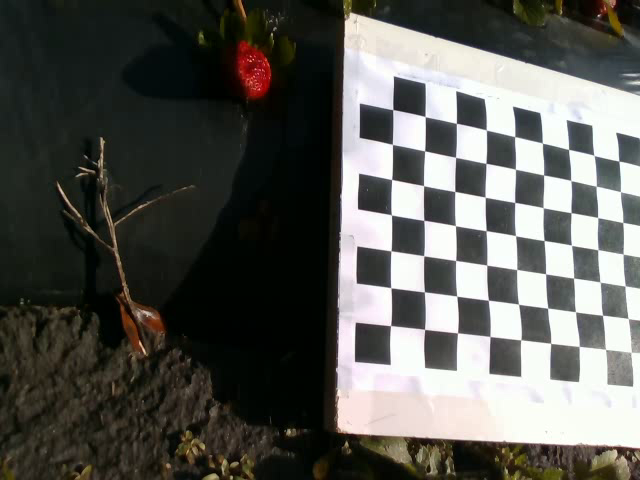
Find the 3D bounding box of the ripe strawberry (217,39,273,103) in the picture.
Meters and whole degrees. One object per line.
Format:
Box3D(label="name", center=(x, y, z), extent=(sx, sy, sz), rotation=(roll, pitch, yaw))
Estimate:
Box3D(label="ripe strawberry", center=(-0.014, -0.037, 0.162), extent=(0.016, 0.015, 0.023), rotation=(17, 22, -20))
